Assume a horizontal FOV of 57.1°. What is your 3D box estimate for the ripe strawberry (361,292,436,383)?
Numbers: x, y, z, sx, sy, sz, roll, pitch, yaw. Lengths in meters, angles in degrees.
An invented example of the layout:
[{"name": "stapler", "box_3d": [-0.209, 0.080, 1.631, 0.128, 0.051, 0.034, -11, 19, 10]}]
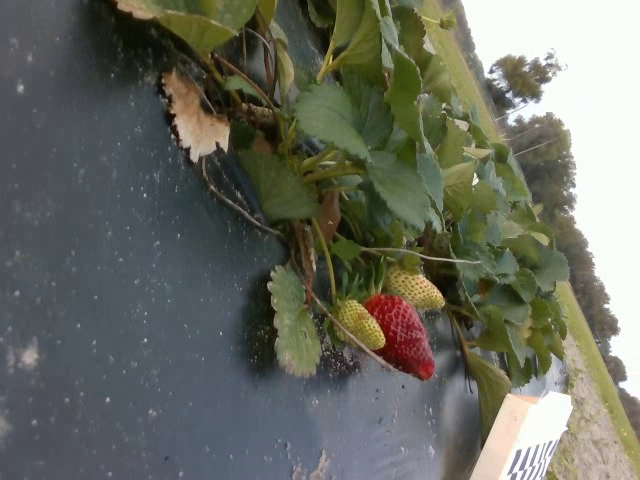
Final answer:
[{"name": "ripe strawberry", "box_3d": [0.043, 0.057, 0.321, 0.059, 0.046, 0.046, 47, 17, 31]}]
